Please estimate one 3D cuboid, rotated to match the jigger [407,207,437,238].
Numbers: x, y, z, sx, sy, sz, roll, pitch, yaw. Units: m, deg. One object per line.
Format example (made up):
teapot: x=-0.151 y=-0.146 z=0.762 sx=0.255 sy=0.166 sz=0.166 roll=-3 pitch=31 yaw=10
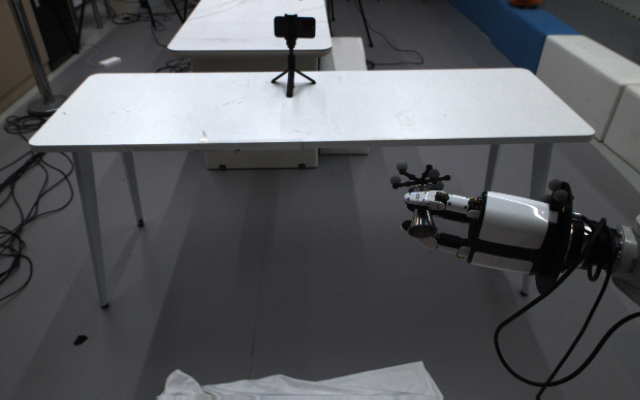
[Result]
jigger: x=0.149 y=0.014 z=0.713 sx=0.043 sy=0.043 sz=0.071 roll=4 pitch=61 yaw=3
